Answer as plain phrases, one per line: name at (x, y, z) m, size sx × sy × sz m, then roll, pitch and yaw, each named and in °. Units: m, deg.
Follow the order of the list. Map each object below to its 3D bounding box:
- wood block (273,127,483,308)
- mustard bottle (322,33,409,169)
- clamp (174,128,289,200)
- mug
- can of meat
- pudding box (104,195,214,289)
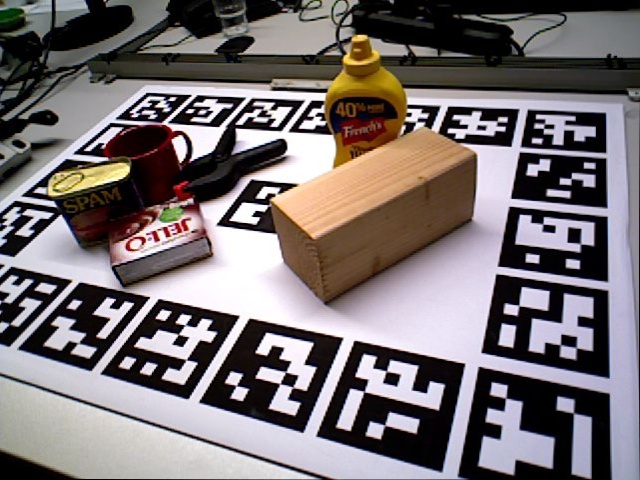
wood block at (0.065, -0.030, 0.574) m, size 0.203 × 0.093 × 0.089 m, roll -27°, pitch 42°, yaw -19°
mustard bottle at (0.053, -0.145, 0.618) m, size 0.096 × 0.195 × 0.057 m, roll 4°, pitch 44°, yaw 17°
clamp at (-0.136, -0.107, 0.749) m, size 0.122 × 0.037 × 0.162 m, roll 25°, pitch 55°, yaw 32°
mug at (-0.226, -0.094, 0.749) m, size 0.093 × 0.083 × 0.115 m, roll 27°, pitch 56°, yaw 35°
can of meat at (-0.276, -0.046, 0.664) m, size 0.101 × 0.085 × 0.057 m, roll -13°, pitch 43°, yaw -2°
pudding box at (-0.188, 0.001, 0.634) m, size 0.112 × 0.039 × 0.089 m, roll -19°, pitch 42°, yaw -10°
